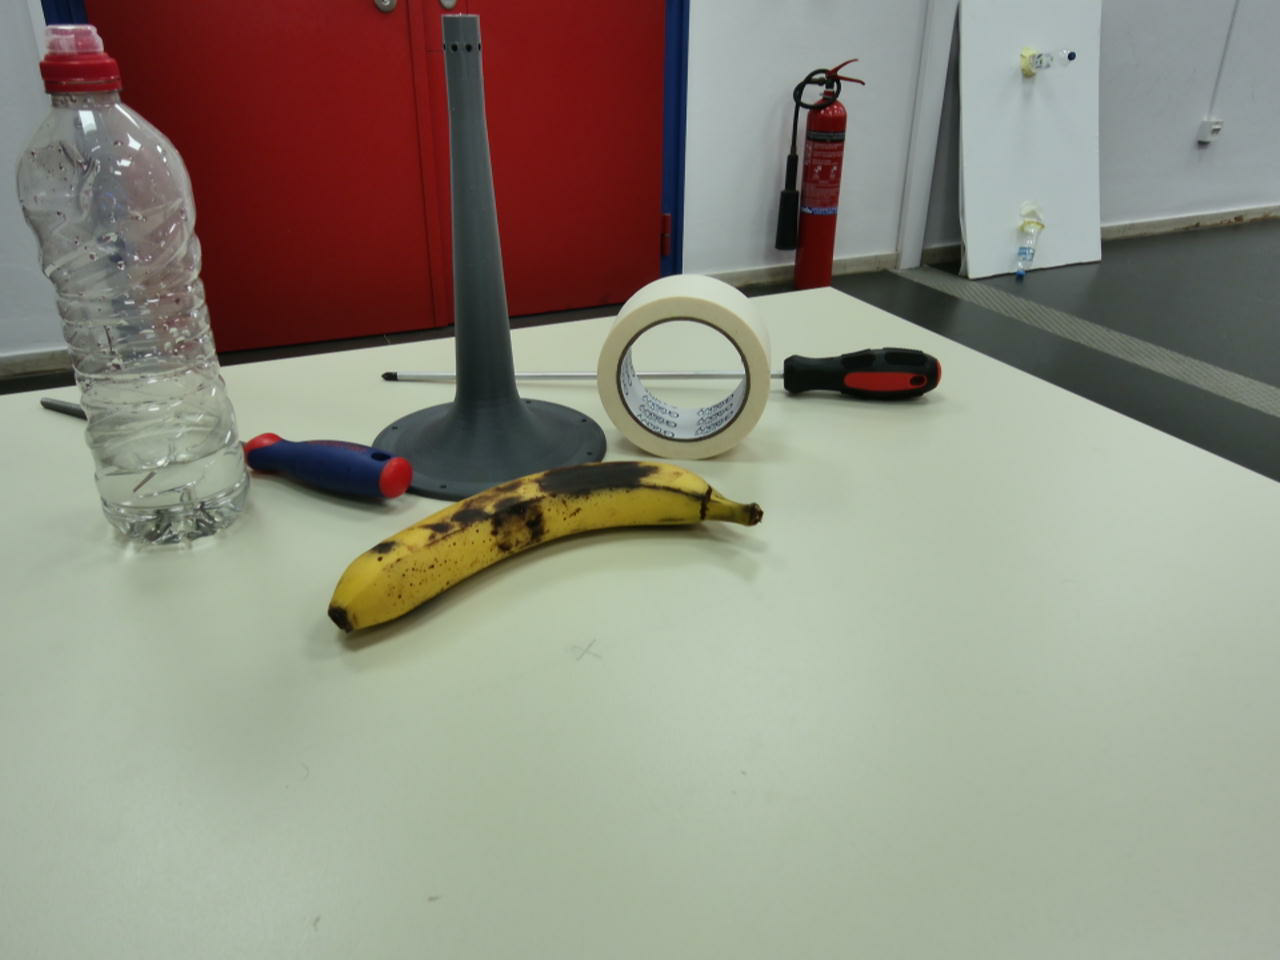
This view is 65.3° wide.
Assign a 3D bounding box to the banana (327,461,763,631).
[{"bbox_3d":[-0.051,0.024,0.510,0.222,0.037,0.084,-11,28,-23],"label":"banana"}]
